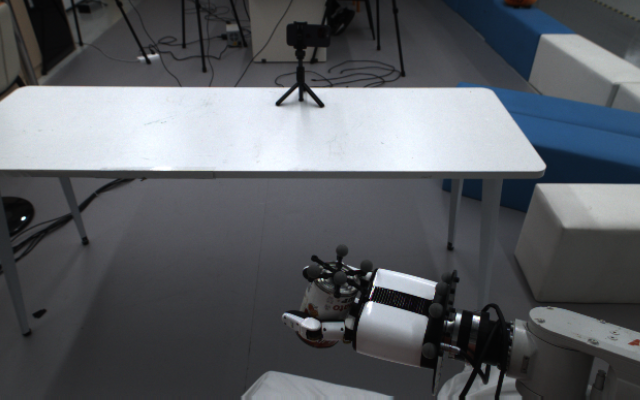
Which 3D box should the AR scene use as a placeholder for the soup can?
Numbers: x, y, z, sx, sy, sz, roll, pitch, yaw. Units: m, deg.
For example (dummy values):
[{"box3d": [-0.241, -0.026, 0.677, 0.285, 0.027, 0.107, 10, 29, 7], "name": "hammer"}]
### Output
[{"box3d": [0.010, 0.143, 0.661, 0.067, 0.101, 0.067, 13, 30, -8], "name": "soup can"}]
